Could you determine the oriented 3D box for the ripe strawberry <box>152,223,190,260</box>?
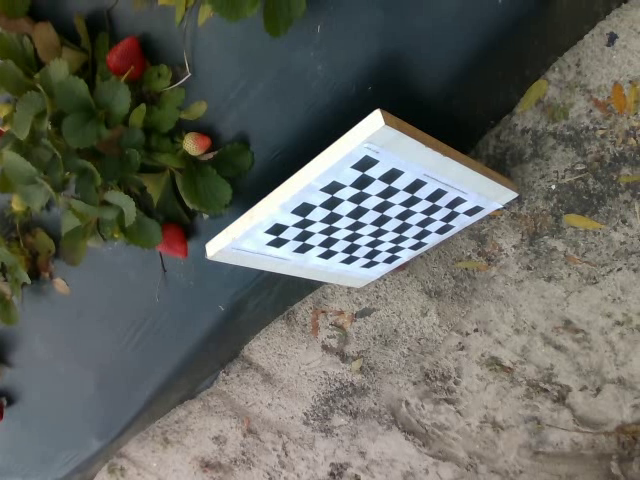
[{"bbox_3d":[-0.152,0.002,0.624,0.046,0.037,0.037,36,-19,11],"label":"ripe strawberry"}]
